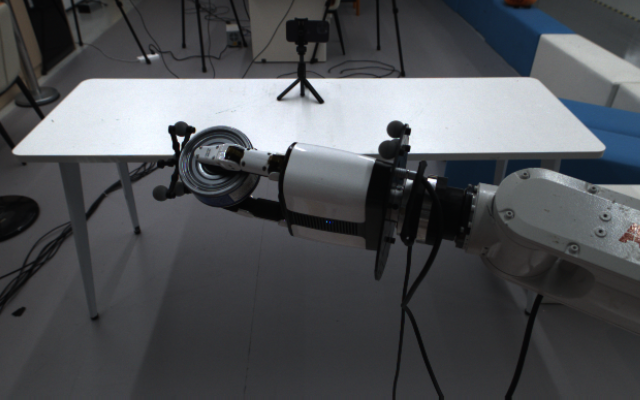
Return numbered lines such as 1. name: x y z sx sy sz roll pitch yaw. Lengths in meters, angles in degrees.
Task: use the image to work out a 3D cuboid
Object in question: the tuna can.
1. tuna can: -0.107 -0.038 0.531 0.085 0.034 0.085 -3 69 7
